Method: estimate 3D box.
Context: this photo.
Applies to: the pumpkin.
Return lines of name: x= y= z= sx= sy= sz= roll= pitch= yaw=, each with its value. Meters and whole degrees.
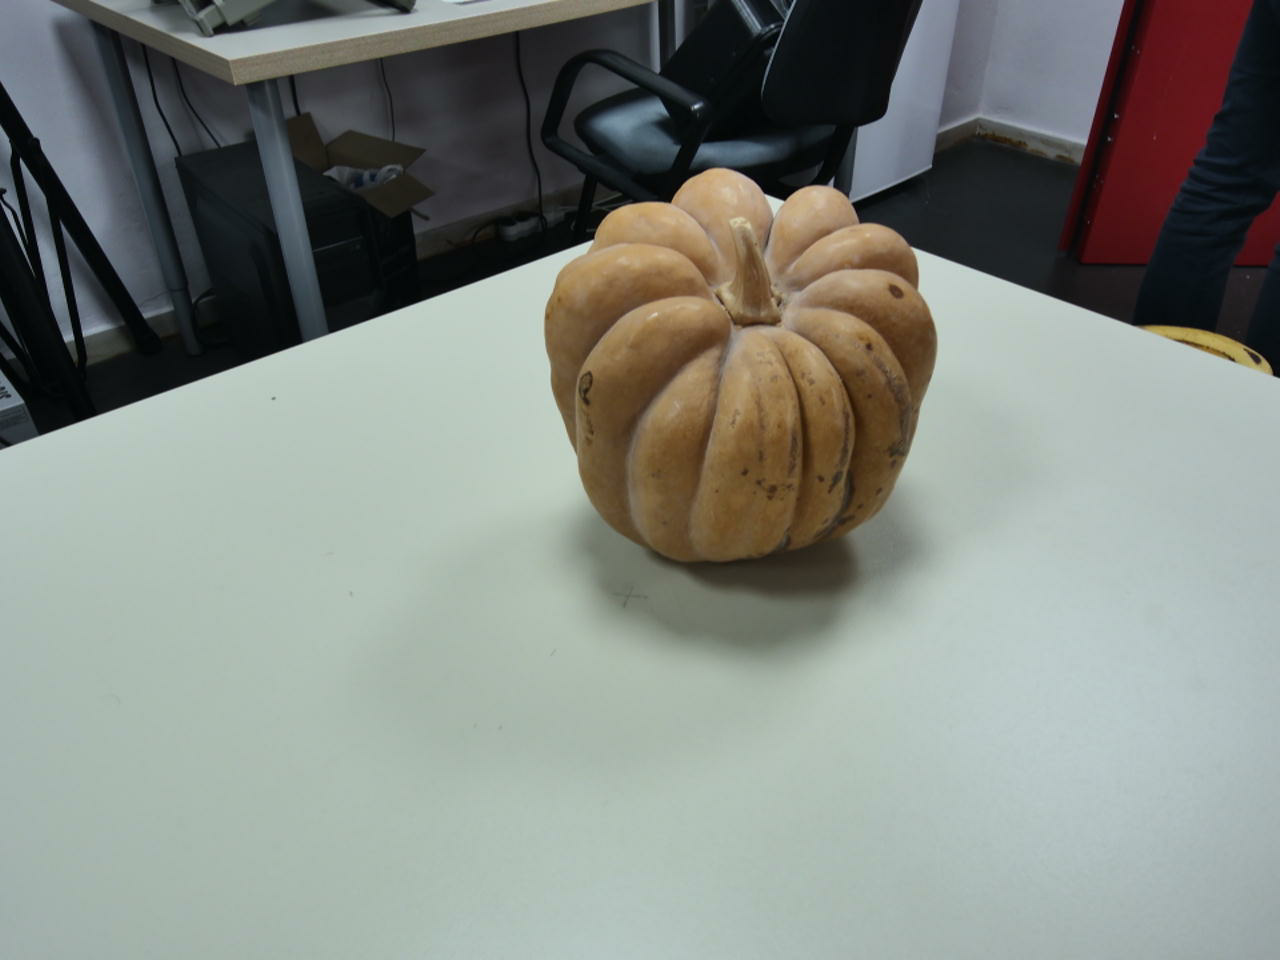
pumpkin: x=0.049 y=-0.053 z=0.508 sx=0.199 sy=0.177 sz=0.198 roll=-1 pitch=36 yaw=1
